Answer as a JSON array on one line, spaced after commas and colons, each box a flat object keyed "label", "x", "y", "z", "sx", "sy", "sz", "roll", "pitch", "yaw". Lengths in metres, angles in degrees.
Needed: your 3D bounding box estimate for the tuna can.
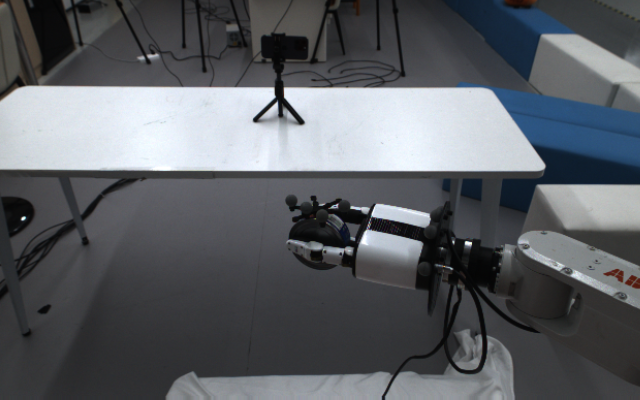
[{"label": "tuna can", "x": 0.001, "y": 0.056, "z": 0.703, "sx": 0.085, "sy": 0.085, "sz": 0.034, "roll": 14, "pitch": 29, "yaw": 16}]
